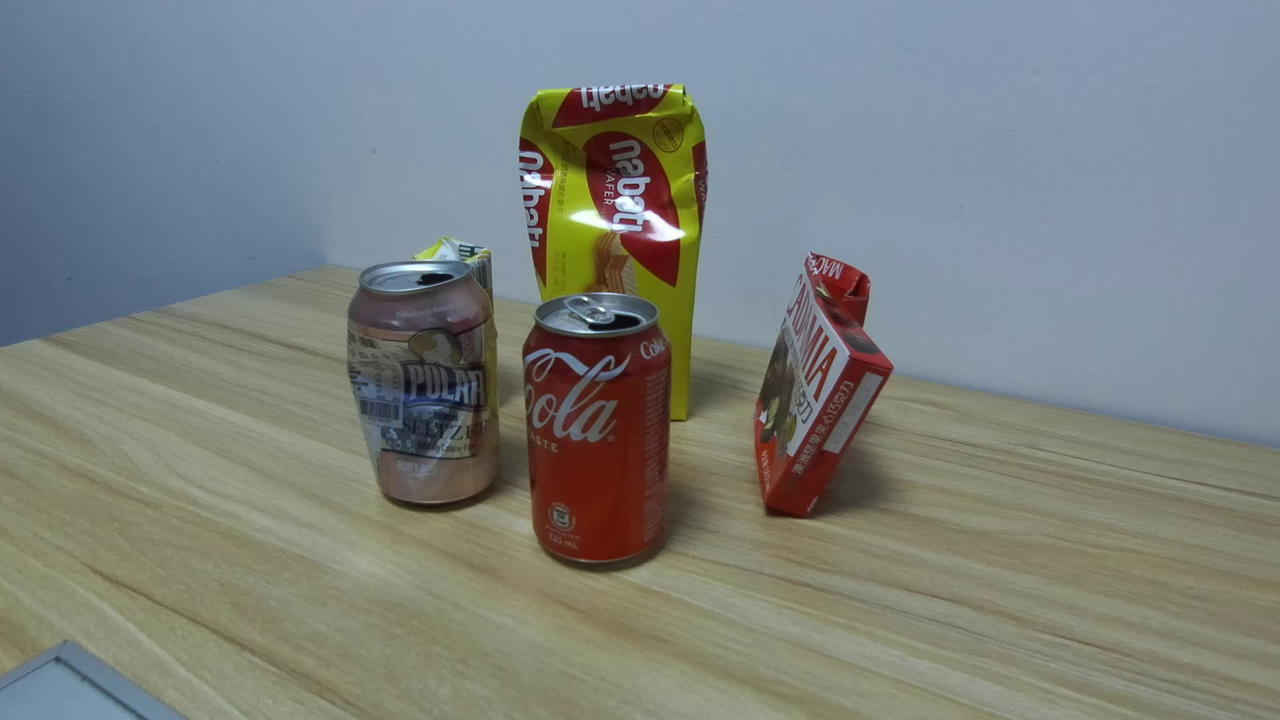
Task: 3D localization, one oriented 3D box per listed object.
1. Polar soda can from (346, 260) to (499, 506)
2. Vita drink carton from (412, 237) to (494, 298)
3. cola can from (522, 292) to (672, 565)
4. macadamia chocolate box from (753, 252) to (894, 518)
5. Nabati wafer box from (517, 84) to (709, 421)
[{"bbox_3d":[-0.109,0.013,0.371,0.067,0.122,0.074,-19,29,-38],"label":"Polar soda can"},{"bbox_3d":[-0.133,-0.022,0.470,0.047,0.109,0.071,-13,25,-41],"label":"Vita drink carton"},{"bbox_3d":[-0.021,0.035,0.342,0.068,0.120,0.068,0,18,0],"label":"cola can"},{"bbox_3d":[0.097,0.010,0.394,0.056,0.112,0.126,5,23,7],"label":"macadamia chocolate box"},{"bbox_3d":[-0.015,-0.060,0.440,0.113,0.205,0.042,-1,22,-1],"label":"Nabati wafer box"}]
